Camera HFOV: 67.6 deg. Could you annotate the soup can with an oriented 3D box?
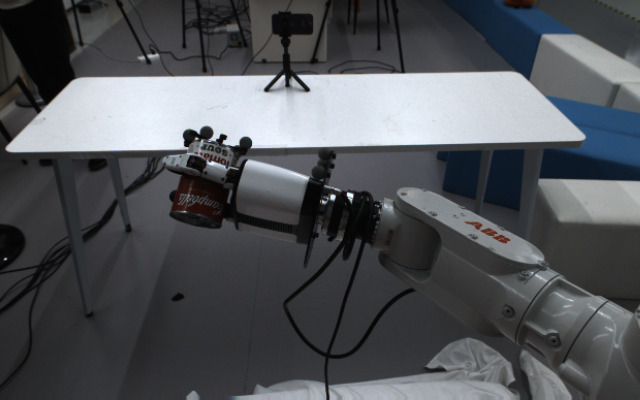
[{"bbox_3d":[-0.150,-0.019,0.633,0.067,0.067,0.101,8,73,8],"label":"soup can"}]
